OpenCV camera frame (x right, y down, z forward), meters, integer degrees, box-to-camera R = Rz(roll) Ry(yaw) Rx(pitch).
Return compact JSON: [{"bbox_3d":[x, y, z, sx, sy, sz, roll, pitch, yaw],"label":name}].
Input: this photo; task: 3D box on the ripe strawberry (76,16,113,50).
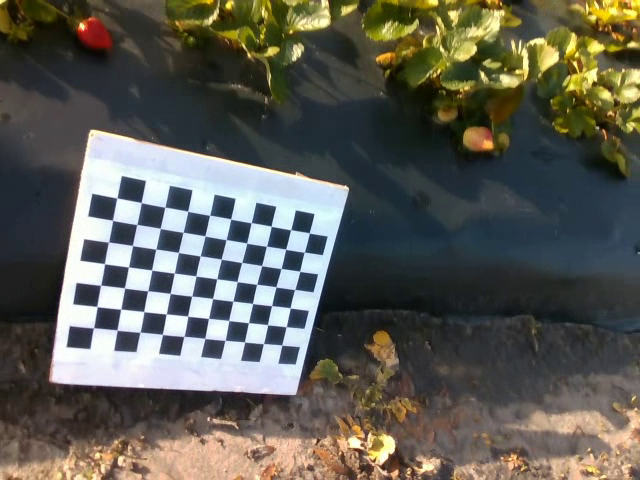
[{"bbox_3d":[-0.218,-0.200,0.536,0.044,0.030,0.033,42,2,7],"label":"ripe strawberry"}]
